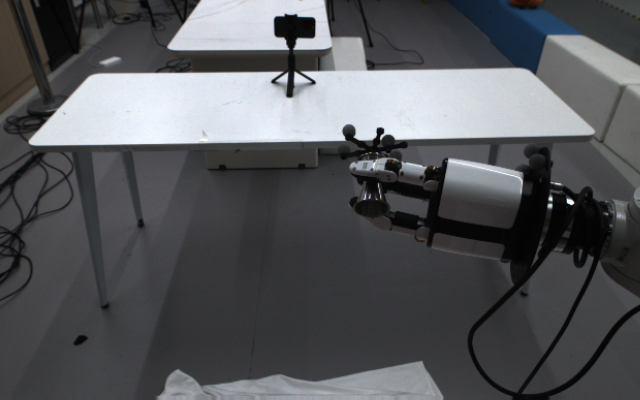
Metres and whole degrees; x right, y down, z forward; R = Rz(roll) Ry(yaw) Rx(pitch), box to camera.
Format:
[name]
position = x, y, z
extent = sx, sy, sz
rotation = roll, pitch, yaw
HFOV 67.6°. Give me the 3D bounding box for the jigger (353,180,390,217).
[jigger]
position = 0.063, -0.021, 0.590
extent = 0.043, 0.043, 0.071
rotation = 4, 61, 2
